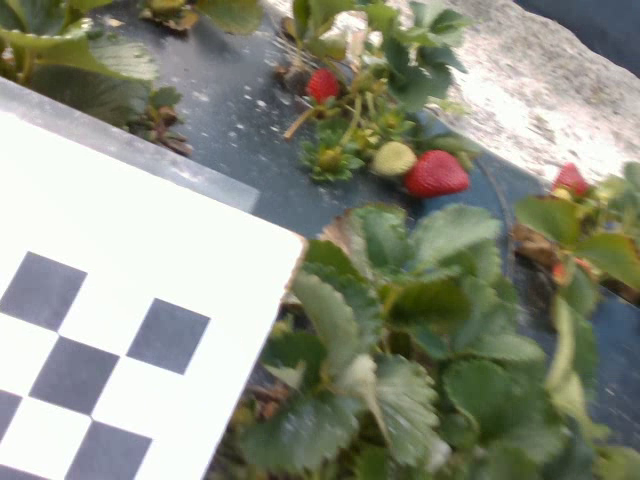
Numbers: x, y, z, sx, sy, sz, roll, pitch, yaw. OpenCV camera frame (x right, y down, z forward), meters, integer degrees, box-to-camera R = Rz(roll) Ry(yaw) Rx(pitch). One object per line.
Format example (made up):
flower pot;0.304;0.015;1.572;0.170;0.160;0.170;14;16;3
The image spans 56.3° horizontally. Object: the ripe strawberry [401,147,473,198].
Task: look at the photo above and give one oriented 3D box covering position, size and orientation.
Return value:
ripe strawberry;0.106;-0.055;0.513;0.051;0.048;0.055;-35;34;-13
